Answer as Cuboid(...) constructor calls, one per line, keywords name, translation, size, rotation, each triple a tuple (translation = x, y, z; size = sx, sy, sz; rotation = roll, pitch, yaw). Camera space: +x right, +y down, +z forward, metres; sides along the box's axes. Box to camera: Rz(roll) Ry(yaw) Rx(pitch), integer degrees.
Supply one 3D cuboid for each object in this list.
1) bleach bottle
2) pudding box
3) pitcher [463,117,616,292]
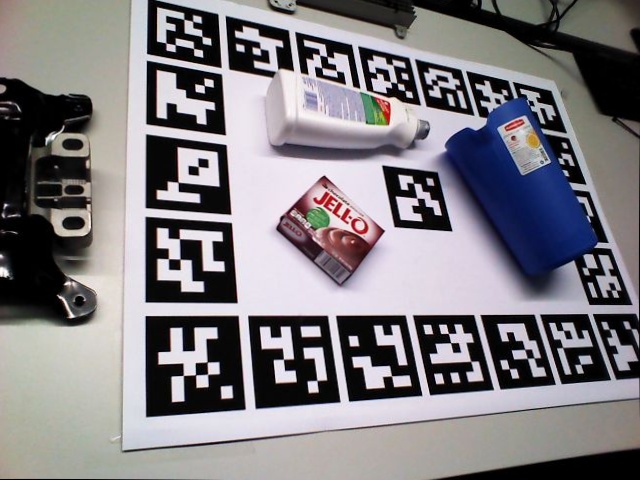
Cuboid(name="bleach bottle", translation=(0.074, -0.159, 0.729), size=(0.250, 0.068, 0.102), rotation=(1, 71, -26))
Cuboid(name="pudding box", translation=(0.035, -0.002, 0.646), size=(0.114, 0.039, 0.089), rotation=(45, 51, -1))
Cuboid(name="pitcher", translation=(0.330, -0.052, 0.776), size=(0.242, 0.134, 0.188), rotation=(64, 25, 7))
